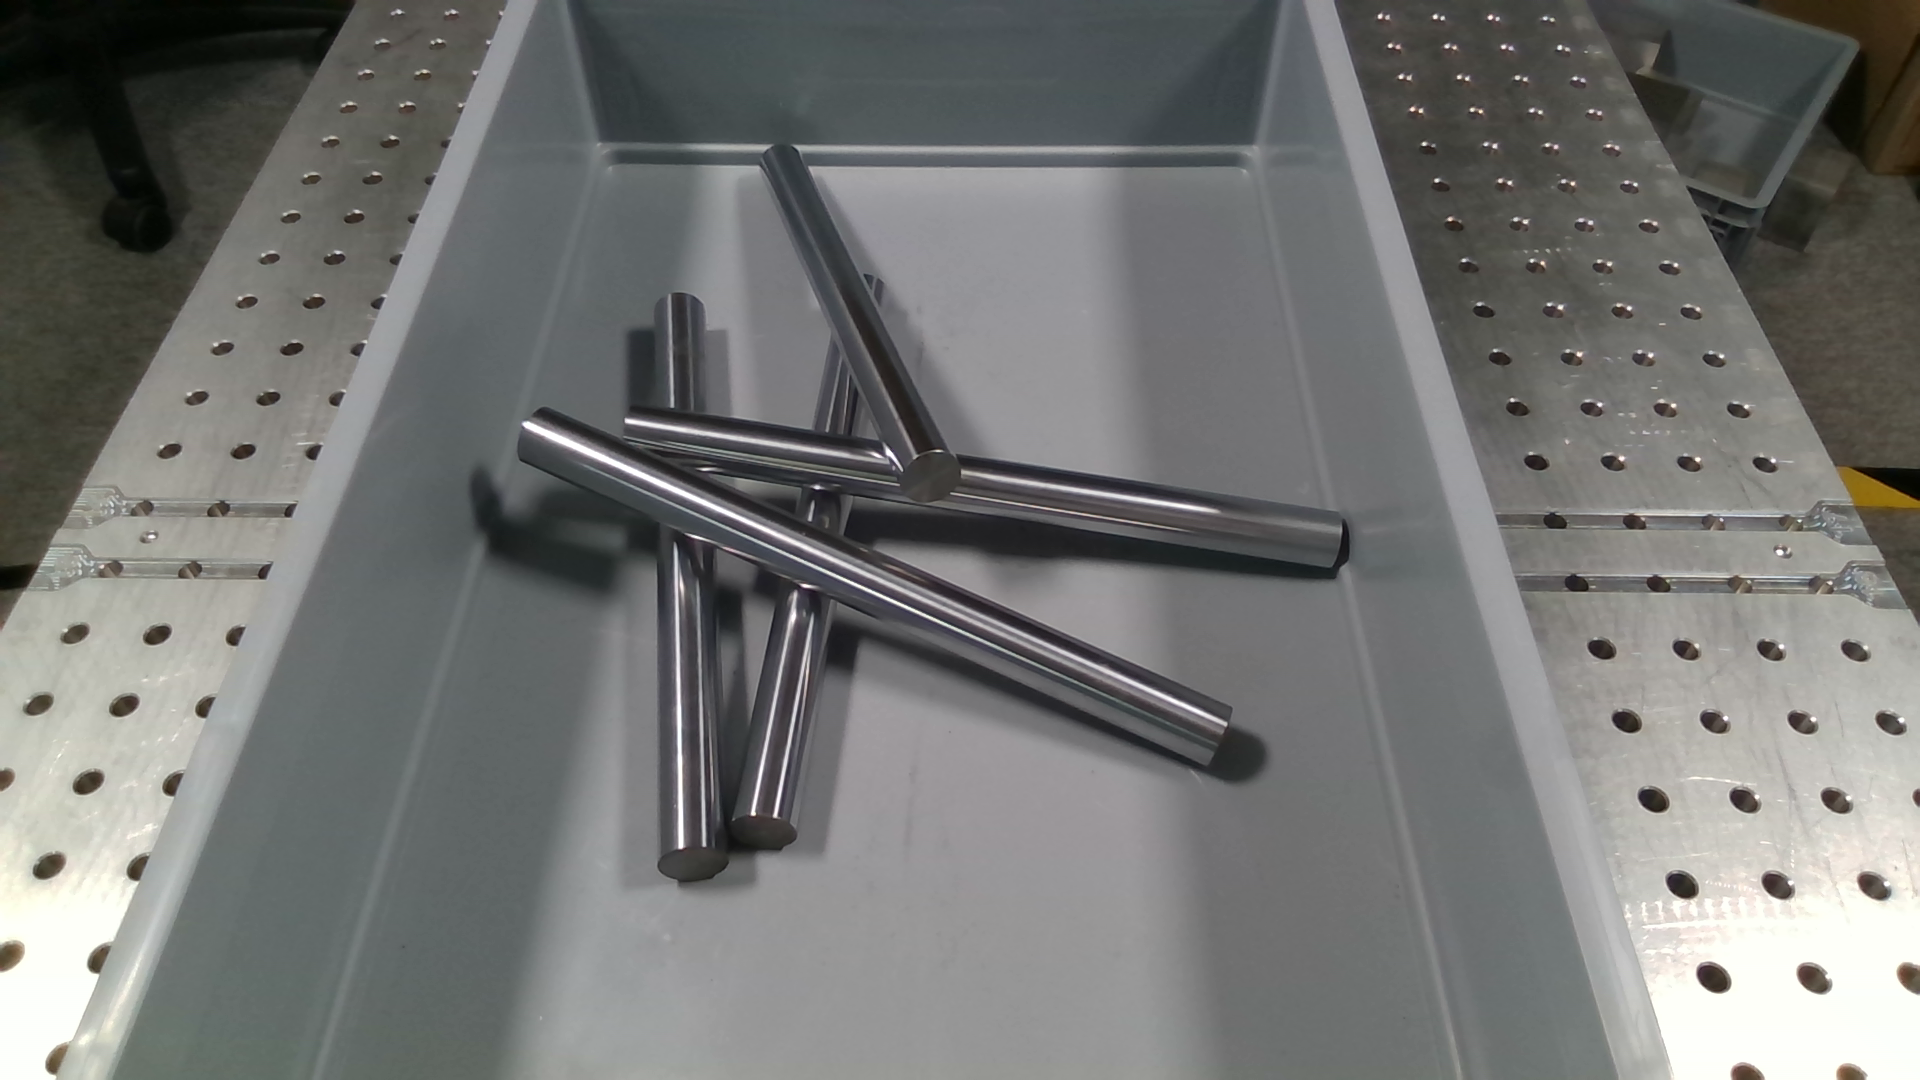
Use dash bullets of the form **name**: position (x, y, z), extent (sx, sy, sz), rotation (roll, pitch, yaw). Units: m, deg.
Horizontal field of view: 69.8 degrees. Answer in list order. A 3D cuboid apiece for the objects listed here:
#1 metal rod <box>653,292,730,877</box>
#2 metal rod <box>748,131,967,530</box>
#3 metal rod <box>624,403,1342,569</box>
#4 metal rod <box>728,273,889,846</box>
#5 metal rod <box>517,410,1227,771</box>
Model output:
- **metal rod**: position (-0.117, 0.001, 0.585), extent (0.025, 0.025, 0.299), rotation (-7, 50, -5)
- **metal rod**: position (-0.057, -0.112, 0.647), extent (0.025, 0.025, 0.299), rotation (-15, 46, -12)
- **metal rod**: position (0.010, -0.023, 0.582), extent (0.300, 0.025, 0.025), rotation (9, 50, -1)
- **metal rod**: position (-0.060, -0.010, 0.594), extent (0.025, 0.025, 0.299), rotation (3, 50, 3)
- **metal rod**: position (-0.039, 0.017, 0.546), extent (0.300, 0.025, 0.025), rotation (24, 54, 9)
